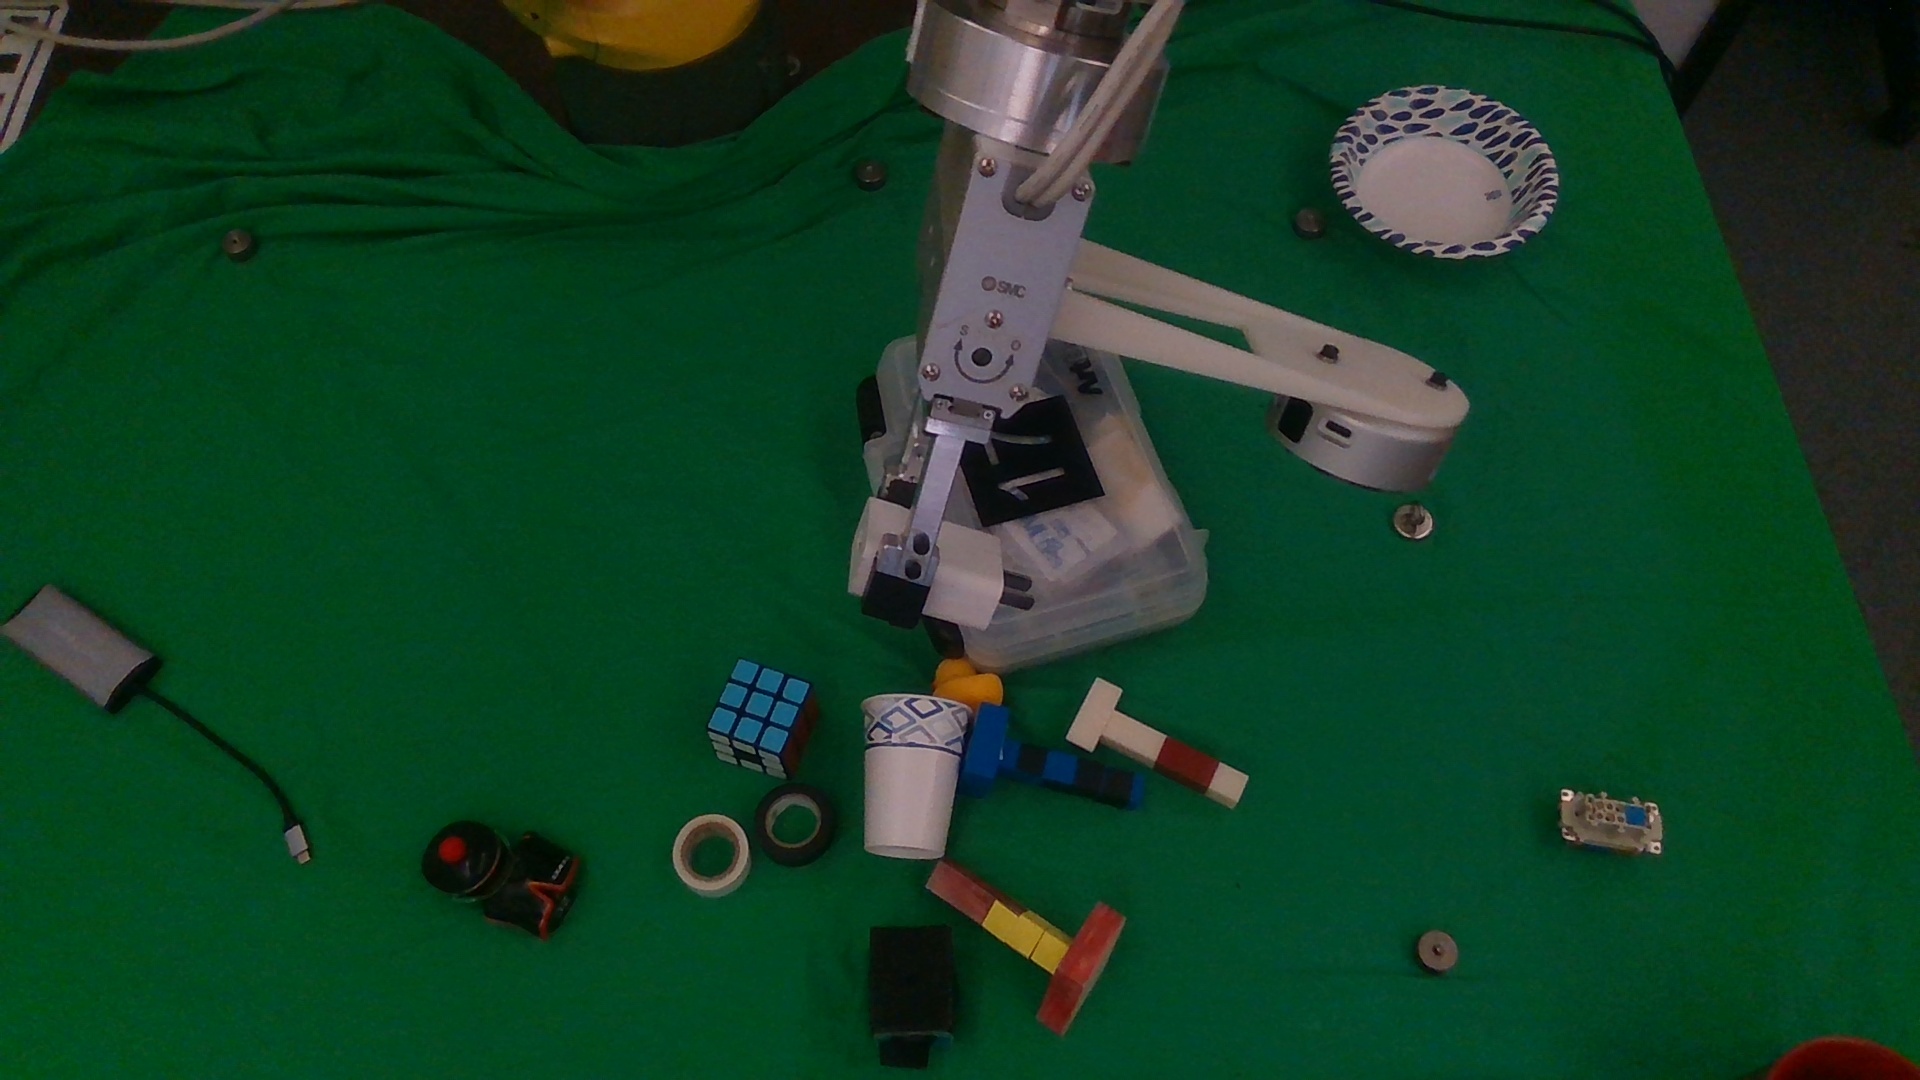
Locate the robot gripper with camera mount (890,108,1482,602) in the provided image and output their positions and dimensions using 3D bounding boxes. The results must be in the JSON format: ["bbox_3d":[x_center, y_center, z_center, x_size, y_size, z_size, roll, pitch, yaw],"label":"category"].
[{"bbox_3d":[0.077,-0.041,0.499,0.193,0.159,0.119,13,26,-8],"label":"robot gripper with camera mount"}]

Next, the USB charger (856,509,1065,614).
[{"bbox_3d":[0.002,0.009,0.525,0.075,0.029,0.045,3,24,-19],"label":"USB charger"}]
